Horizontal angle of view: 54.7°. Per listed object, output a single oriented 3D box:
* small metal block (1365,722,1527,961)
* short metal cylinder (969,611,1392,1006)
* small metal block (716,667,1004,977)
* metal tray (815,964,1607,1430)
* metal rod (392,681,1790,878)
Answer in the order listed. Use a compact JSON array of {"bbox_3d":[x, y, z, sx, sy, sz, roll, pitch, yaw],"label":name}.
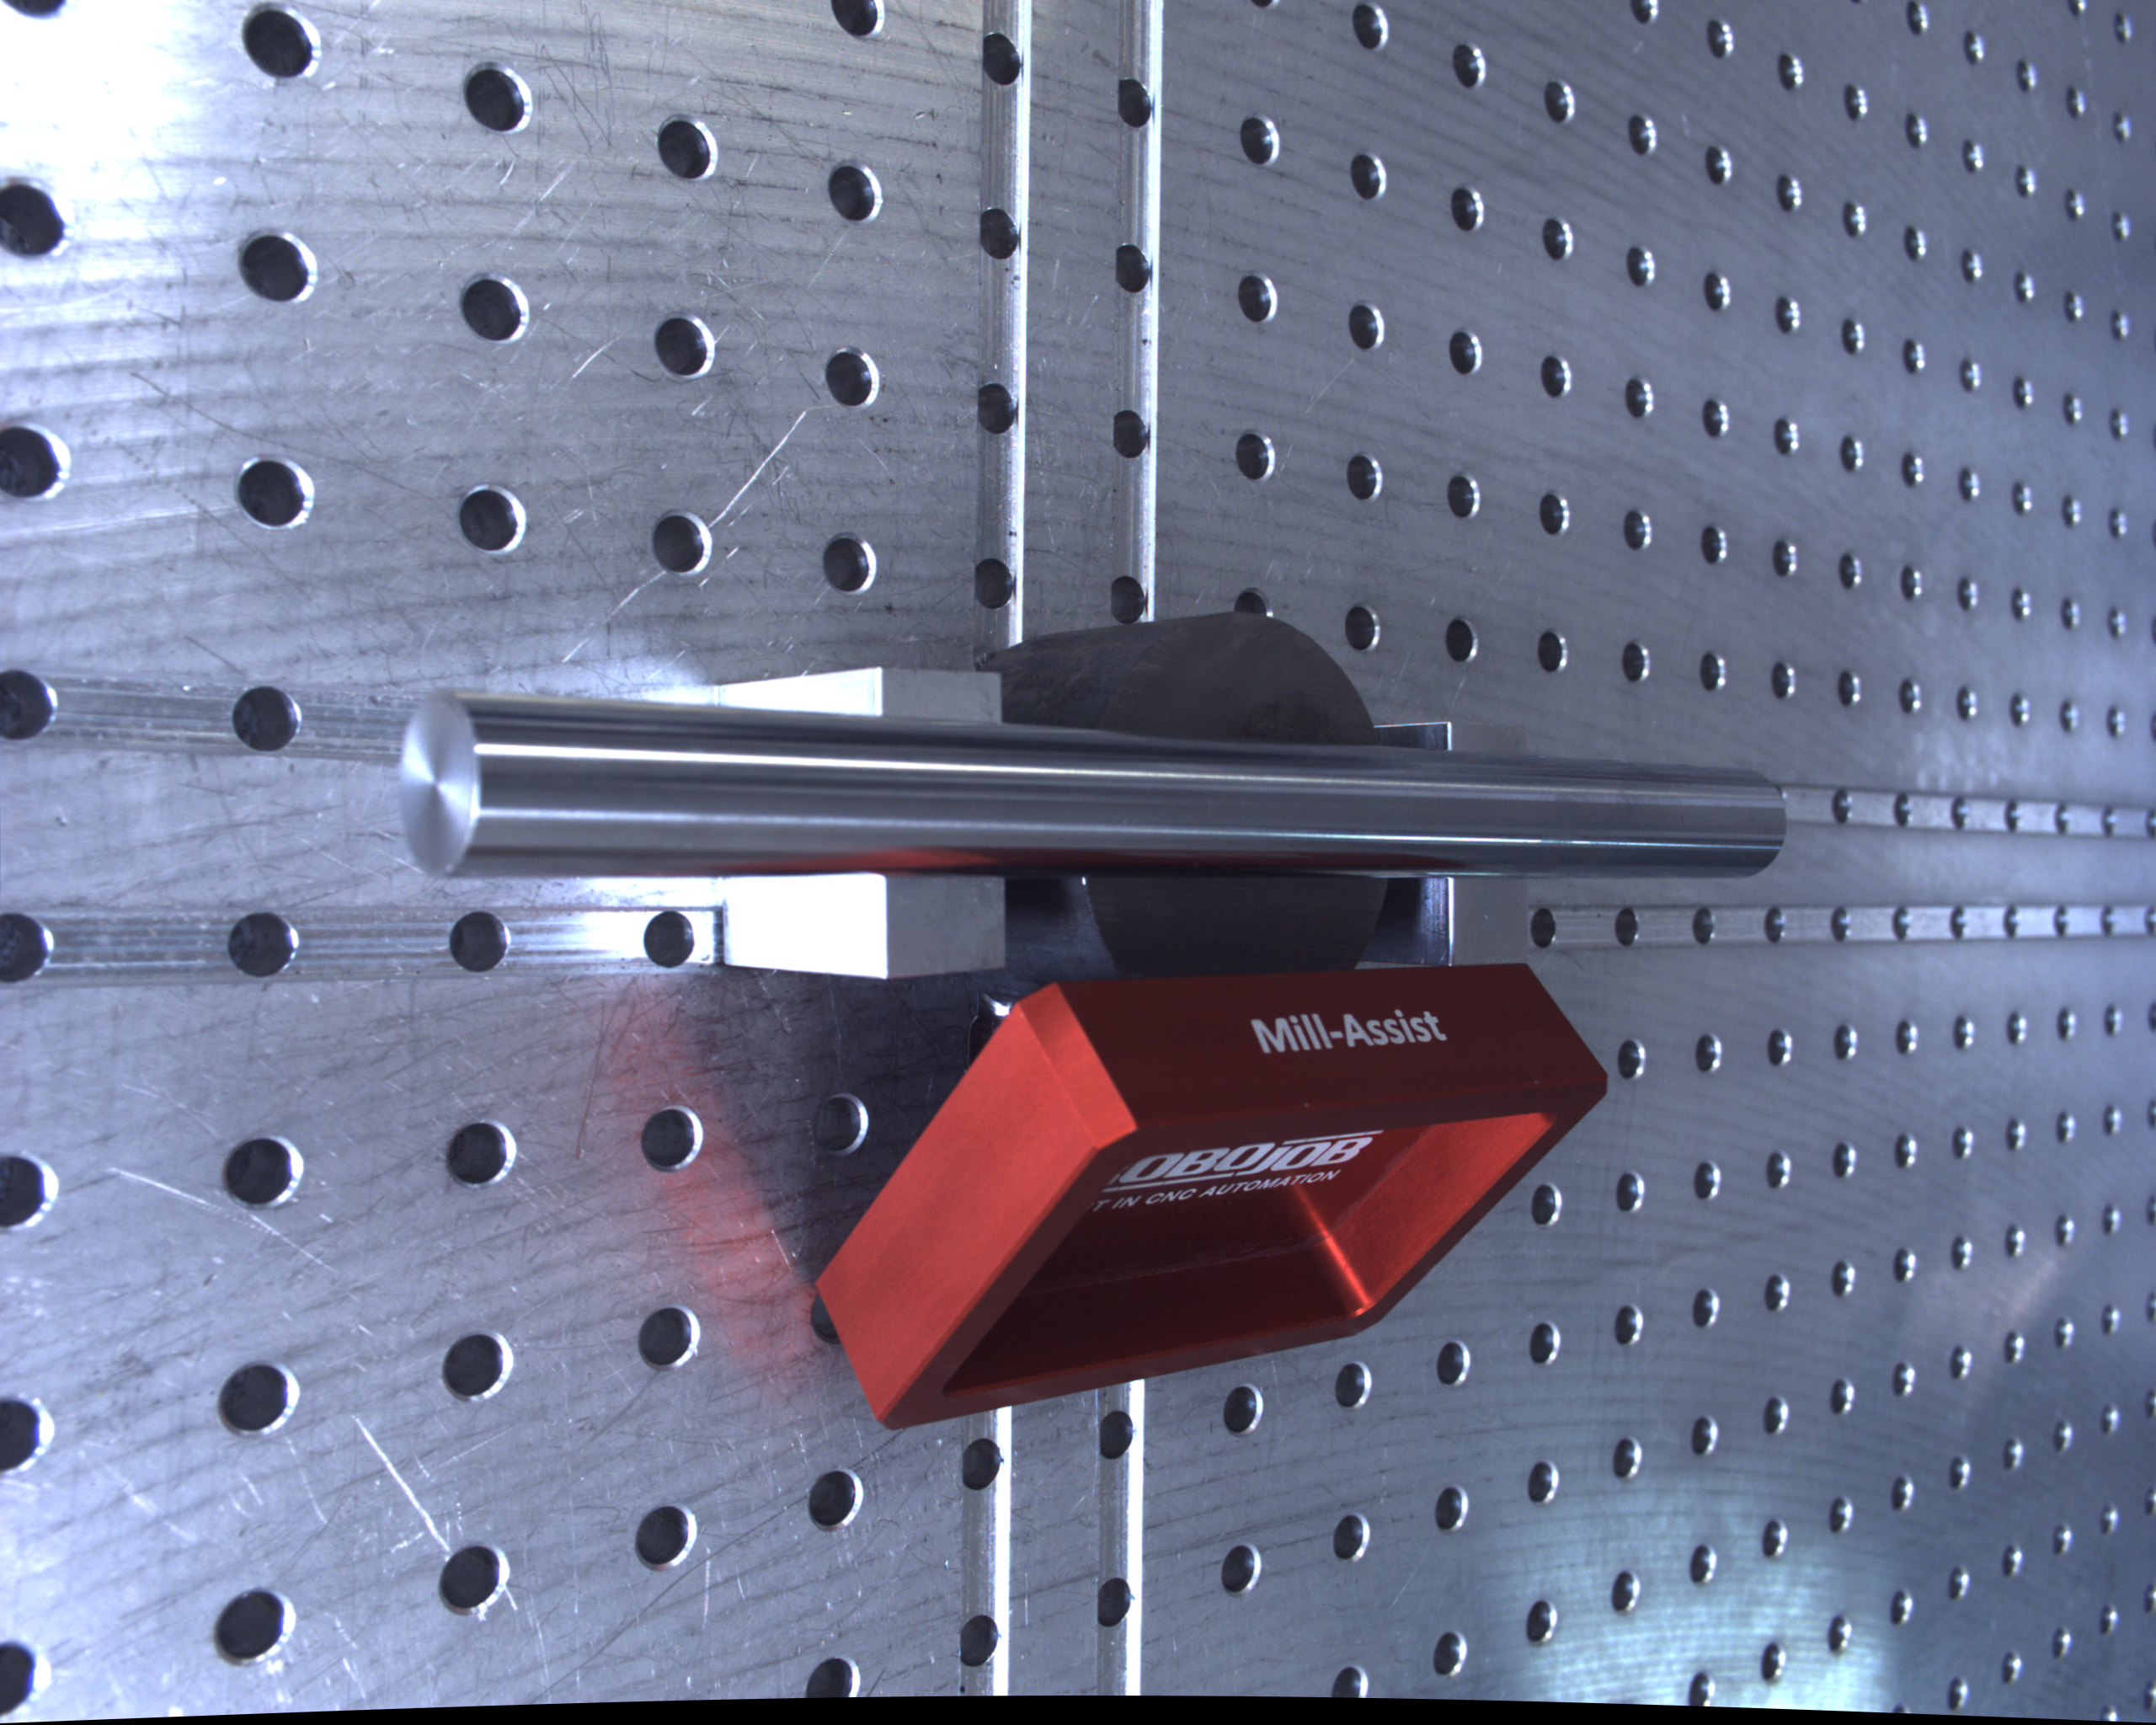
[{"bbox_3d":[0.069,-0.004,0.451,0.025,0.050,0.050,-1,91,-40],"label":"small metal block"},{"bbox_3d":[0.015,-0.007,0.405,0.081,0.050,0.080,0,90,-40],"label":"short metal cylinder"},{"bbox_3d":[-0.038,-0.007,0.361,0.025,0.050,0.050,-1,91,-40],"label":"small metal block"},{"bbox_3d":[0.027,0.061,0.393,0.131,0.089,0.030,1,47,-40],"label":"metal tray"},{"bbox_3d":[0.031,-0.010,0.370,0.302,0.025,0.025,1,90,-40],"label":"metal rod"}]
